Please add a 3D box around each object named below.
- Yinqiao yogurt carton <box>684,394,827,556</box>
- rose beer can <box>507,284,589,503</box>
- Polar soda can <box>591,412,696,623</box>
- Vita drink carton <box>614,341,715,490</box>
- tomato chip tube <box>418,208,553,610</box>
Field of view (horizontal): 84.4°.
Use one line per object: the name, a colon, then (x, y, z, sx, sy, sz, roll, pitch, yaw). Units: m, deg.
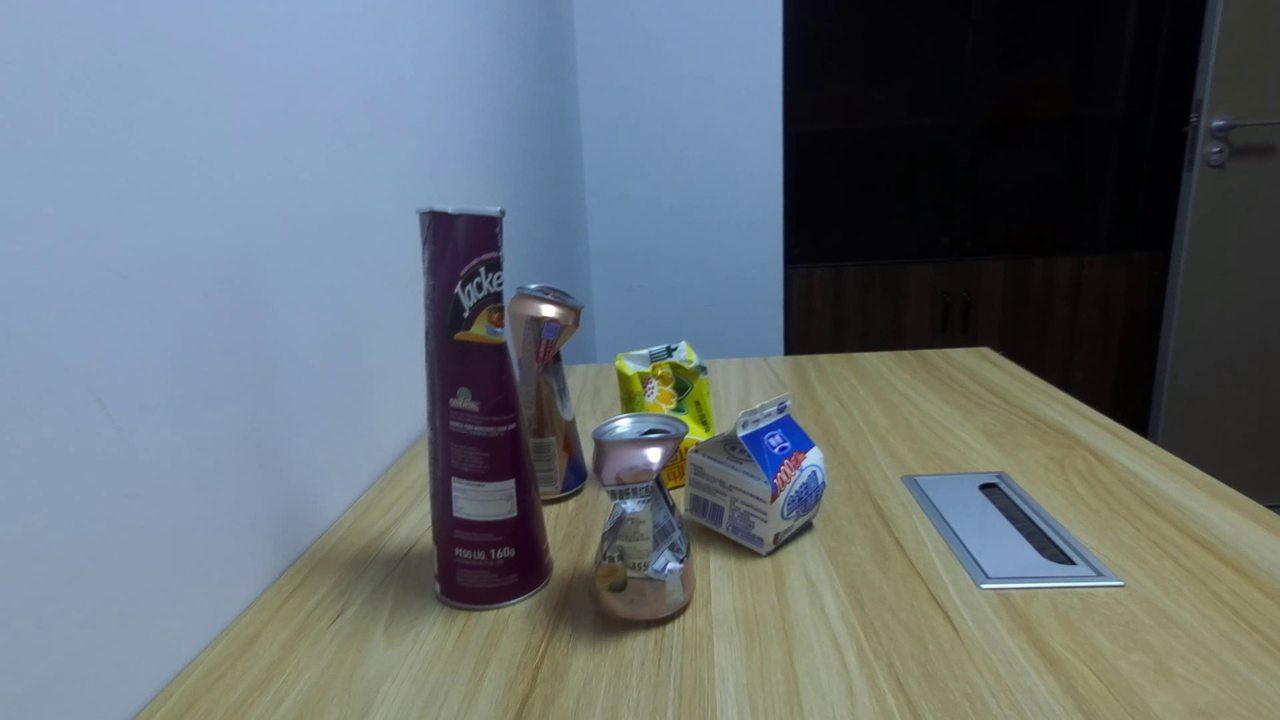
Yinqiao yogurt carton: (0.084, 0.072, 0.486, 0.080, 0.097, 0.075, 19, 26, 39)
rose beer can: (-0.077, 0.028, 0.571, 0.069, 0.168, 0.070, 12, 17, 42)
Polar soda can: (0.000, 0.089, 0.412, 0.070, 0.114, 0.074, -8, 17, -38)
Vita drink carton: (0.023, 0.046, 0.576, 0.071, 0.109, 0.046, -11, 17, -23)
tomato chip tube: (-0.099, 0.028, 0.428, 0.078, 0.235, 0.090, -1, 13, 4)
